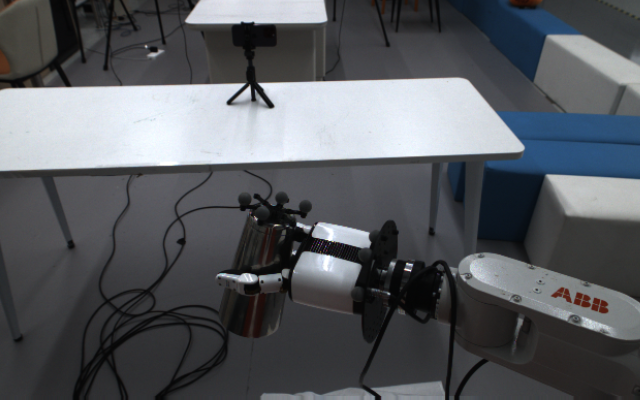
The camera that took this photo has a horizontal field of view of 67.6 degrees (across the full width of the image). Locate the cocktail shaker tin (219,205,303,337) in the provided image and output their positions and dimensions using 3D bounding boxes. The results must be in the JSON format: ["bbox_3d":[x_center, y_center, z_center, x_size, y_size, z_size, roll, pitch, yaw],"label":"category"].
[{"bbox_3d":[-0.081,0.093,0.672,0.093,0.170,0.093,12,24,-5],"label":"cocktail shaker tin"}]
